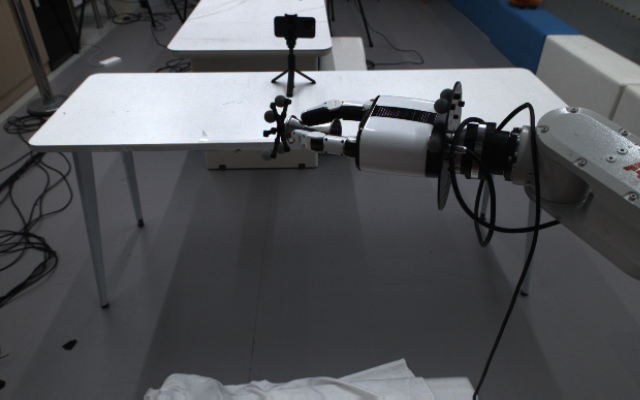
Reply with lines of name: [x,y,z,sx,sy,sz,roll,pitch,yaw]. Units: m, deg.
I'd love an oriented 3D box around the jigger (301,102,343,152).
jigger: [-0.004,-0.096,0.666,0.071,0.043,0.043,10,35,22]
